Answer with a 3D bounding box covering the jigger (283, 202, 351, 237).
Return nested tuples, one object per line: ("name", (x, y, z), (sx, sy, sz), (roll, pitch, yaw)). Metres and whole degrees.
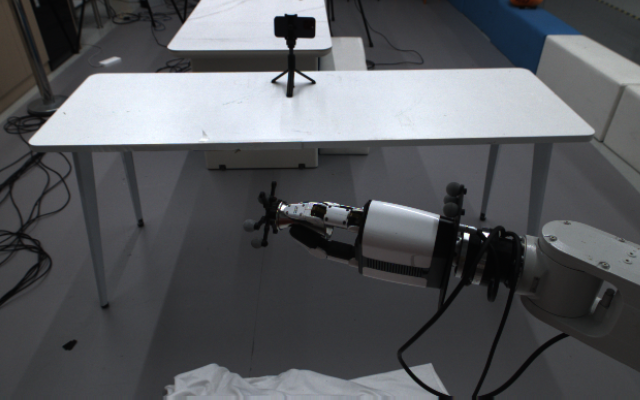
("jigger", (-0.012, 0.020, 0.627), (0.071, 0.043, 0.043), (8, 35, 15))
